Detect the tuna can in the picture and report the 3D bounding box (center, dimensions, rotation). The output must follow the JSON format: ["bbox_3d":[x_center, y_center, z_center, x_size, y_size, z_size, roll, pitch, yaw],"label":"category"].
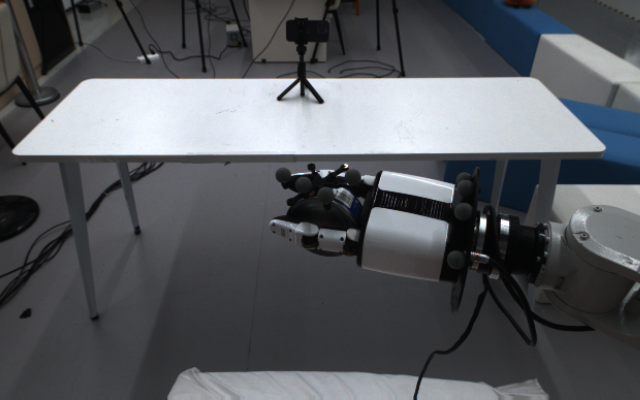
[{"bbox_3d":[0.010,0.026,0.550,0.085,0.085,0.034,12,39,13],"label":"tuna can"}]
